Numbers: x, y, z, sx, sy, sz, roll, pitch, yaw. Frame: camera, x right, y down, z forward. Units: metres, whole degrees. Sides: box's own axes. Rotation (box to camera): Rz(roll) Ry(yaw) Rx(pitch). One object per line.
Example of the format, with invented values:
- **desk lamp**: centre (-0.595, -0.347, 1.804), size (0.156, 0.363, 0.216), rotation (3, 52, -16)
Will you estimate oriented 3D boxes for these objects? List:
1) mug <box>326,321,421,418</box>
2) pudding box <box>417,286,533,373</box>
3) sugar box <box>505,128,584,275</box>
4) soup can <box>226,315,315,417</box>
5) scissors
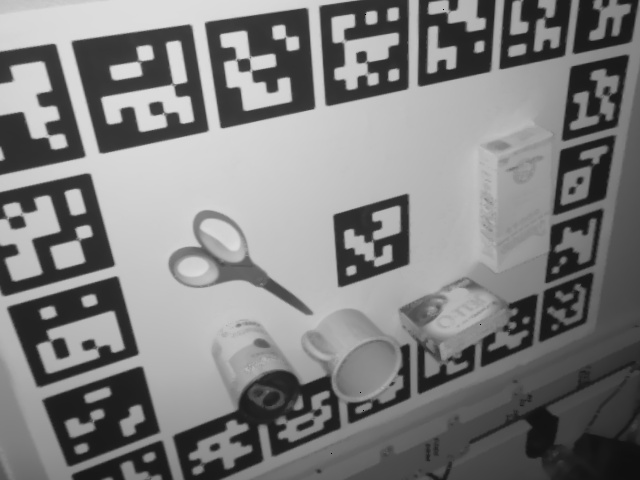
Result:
- **mug**: centre (0.052, 0.142, 0.816), size (0.093, 0.081, 0.118), rotation (-47, 125, -3)
- **pudding box**: centre (0.192, 0.109, 0.861), size (0.115, 0.089, 0.038), rotation (-23, 114, -15)
- **sugar box**: centre (0.282, -0.044, 0.873), size (0.094, 0.045, 0.175), rotation (-18, 117, -20)
- **soup can**: centre (-0.057, 0.135, 0.757), size (0.069, 0.101, 0.067), rotation (-12, 118, -22)
- **scissors**: centre (-0.056, 0.031, 0.751), size (0.204, 0.016, 0.088), rotation (37, 83, -32)
